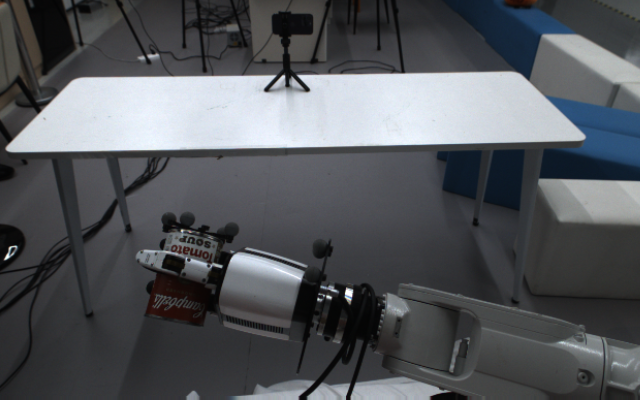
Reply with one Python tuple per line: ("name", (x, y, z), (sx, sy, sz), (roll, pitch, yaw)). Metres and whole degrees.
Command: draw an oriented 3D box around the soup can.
("soup can", (-0.156, 0.092, 0.562), (0.067, 0.067, 0.101), (8, 72, 8))
